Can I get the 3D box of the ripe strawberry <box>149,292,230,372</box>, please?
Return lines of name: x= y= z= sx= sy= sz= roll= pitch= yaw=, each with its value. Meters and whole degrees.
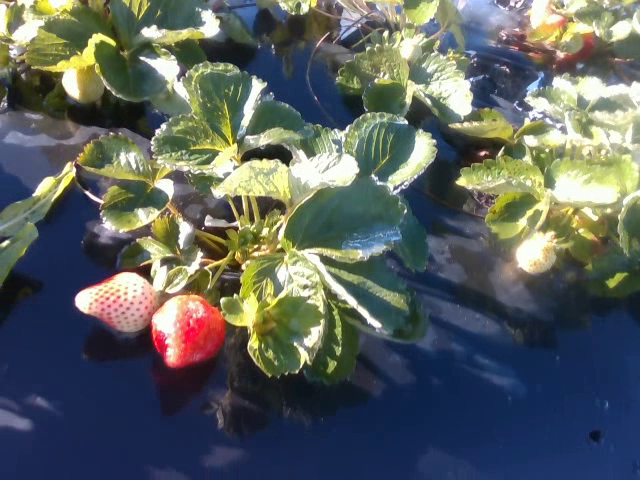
ripe strawberry: x=-0.065 y=0.047 z=0.301 sx=0.040 sy=0.037 sz=0.055 roll=-14 pitch=5 yaw=7
